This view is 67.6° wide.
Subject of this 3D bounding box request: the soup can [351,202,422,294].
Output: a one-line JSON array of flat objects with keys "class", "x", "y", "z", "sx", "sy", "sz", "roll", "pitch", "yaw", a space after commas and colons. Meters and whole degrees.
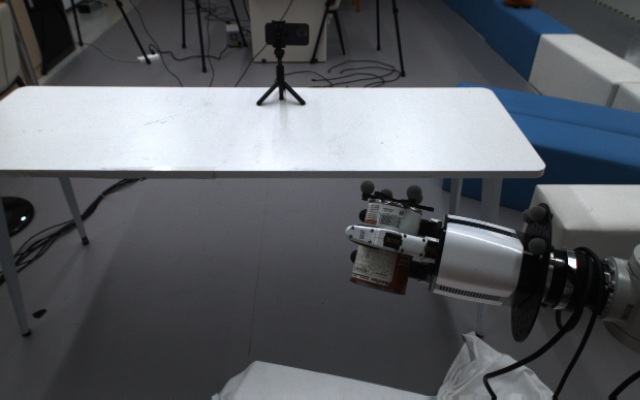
[{"class": "soup can", "x": 0.080, "y": 0.053, "z": 0.583, "sx": 0.067, "sy": 0.101, "sz": 0.067, "roll": 14, "pitch": -6, "yaw": 2}]
